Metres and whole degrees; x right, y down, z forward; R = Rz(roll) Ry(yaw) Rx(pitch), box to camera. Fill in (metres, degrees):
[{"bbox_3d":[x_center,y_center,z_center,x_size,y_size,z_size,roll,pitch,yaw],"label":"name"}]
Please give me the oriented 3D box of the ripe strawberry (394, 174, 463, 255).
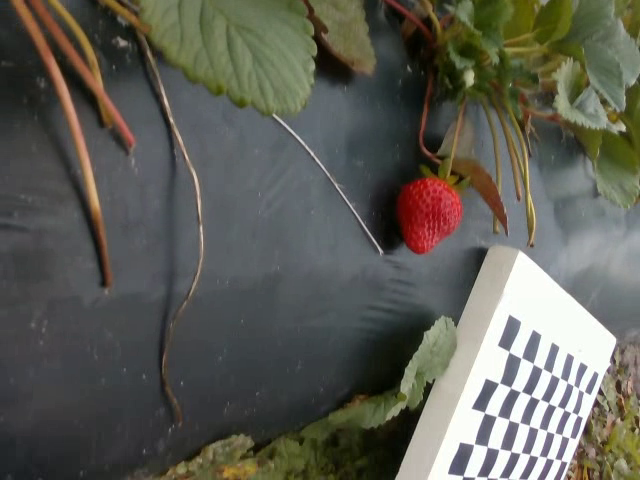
[{"bbox_3d":[0.040,-0.008,0.208,0.022,0.033,0.029,11,-28,47],"label":"ripe strawberry"}]
